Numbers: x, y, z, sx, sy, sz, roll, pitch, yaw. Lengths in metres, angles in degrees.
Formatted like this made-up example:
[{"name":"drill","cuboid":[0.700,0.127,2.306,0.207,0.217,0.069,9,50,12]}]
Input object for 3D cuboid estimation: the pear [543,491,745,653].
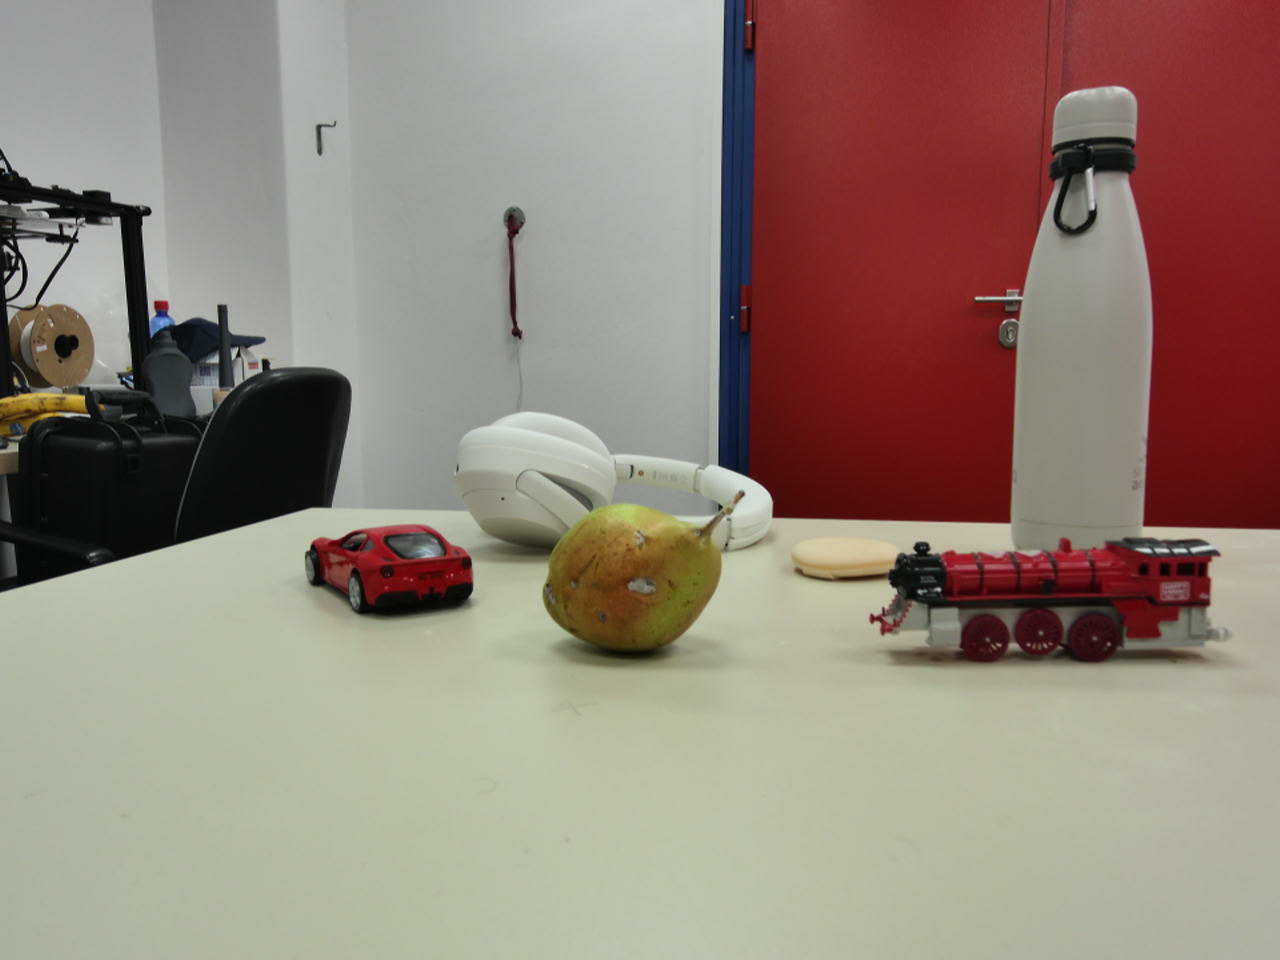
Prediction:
[{"name":"pear","cuboid":[-0.002,0.038,0.424,0.068,0.069,0.070,-2,4,-26]}]
